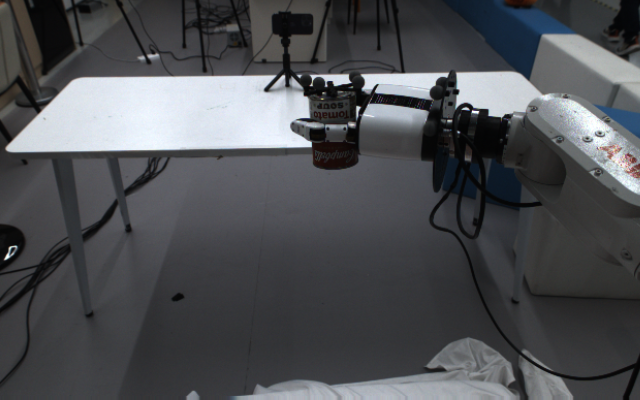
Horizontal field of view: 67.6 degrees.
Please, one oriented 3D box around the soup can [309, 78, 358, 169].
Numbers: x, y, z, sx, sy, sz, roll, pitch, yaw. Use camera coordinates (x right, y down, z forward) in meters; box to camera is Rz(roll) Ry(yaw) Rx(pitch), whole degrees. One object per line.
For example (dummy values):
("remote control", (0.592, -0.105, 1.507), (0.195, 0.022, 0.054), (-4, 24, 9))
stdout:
("soup can", (0.020, -0.102, 0.684), (0.067, 0.101, 0.067), (-3, 26, 2))
